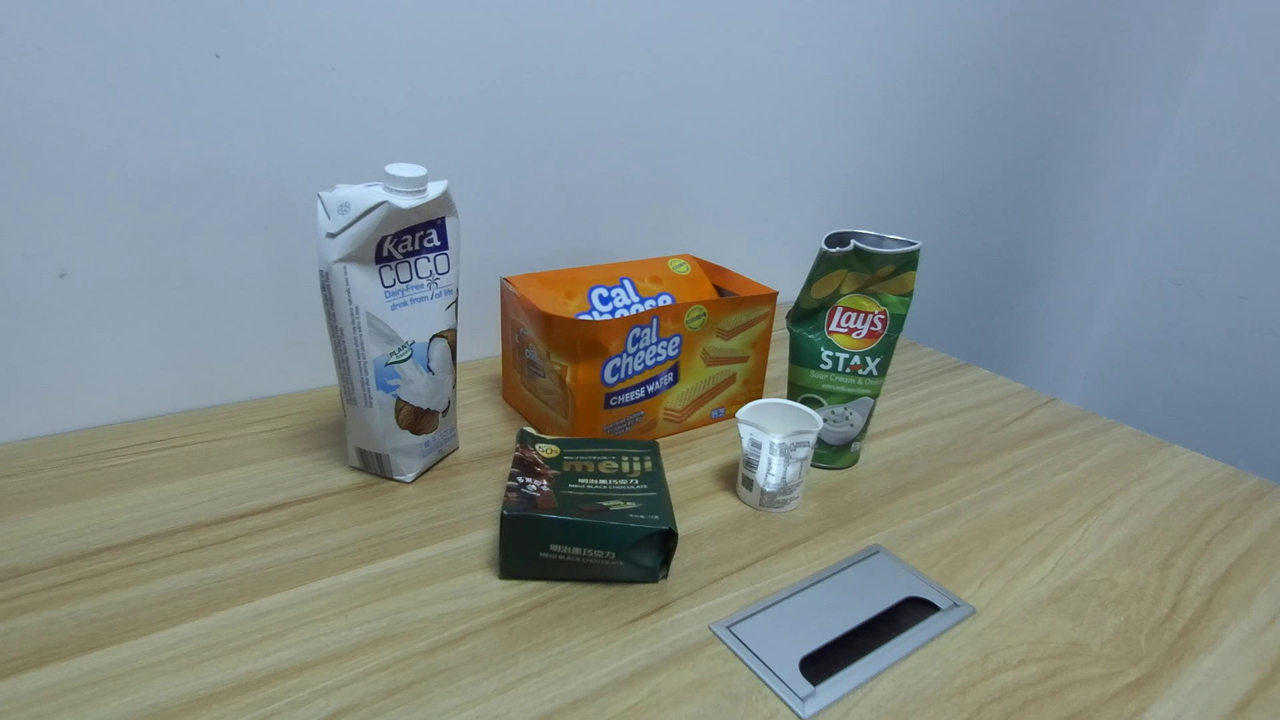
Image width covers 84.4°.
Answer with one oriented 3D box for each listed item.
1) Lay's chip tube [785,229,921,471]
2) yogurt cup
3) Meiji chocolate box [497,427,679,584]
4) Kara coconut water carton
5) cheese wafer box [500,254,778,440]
[{"bbox_3d":[0.172,-0.008,0.602,0.077,0.201,0.069,-15,30,-33],"label":"Lay's chip tube"},{"bbox_3d":[0.106,0.075,0.558,0.067,0.070,0.067,2,22,0],"label":"yogurt cup"},{"bbox_3d":[-0.037,0.102,0.500,0.116,0.058,0.122,5,23,-6],"label":"Meiji chocolate box"},{"bbox_3d":[-0.187,-0.027,0.542,0.069,0.238,0.115,14,25,19],"label":"Kara coconut water carton"},{"bbox_3d":[-0.004,-0.010,0.674,0.231,0.132,0.151,-10,28,-33],"label":"cheese wafer box"}]
